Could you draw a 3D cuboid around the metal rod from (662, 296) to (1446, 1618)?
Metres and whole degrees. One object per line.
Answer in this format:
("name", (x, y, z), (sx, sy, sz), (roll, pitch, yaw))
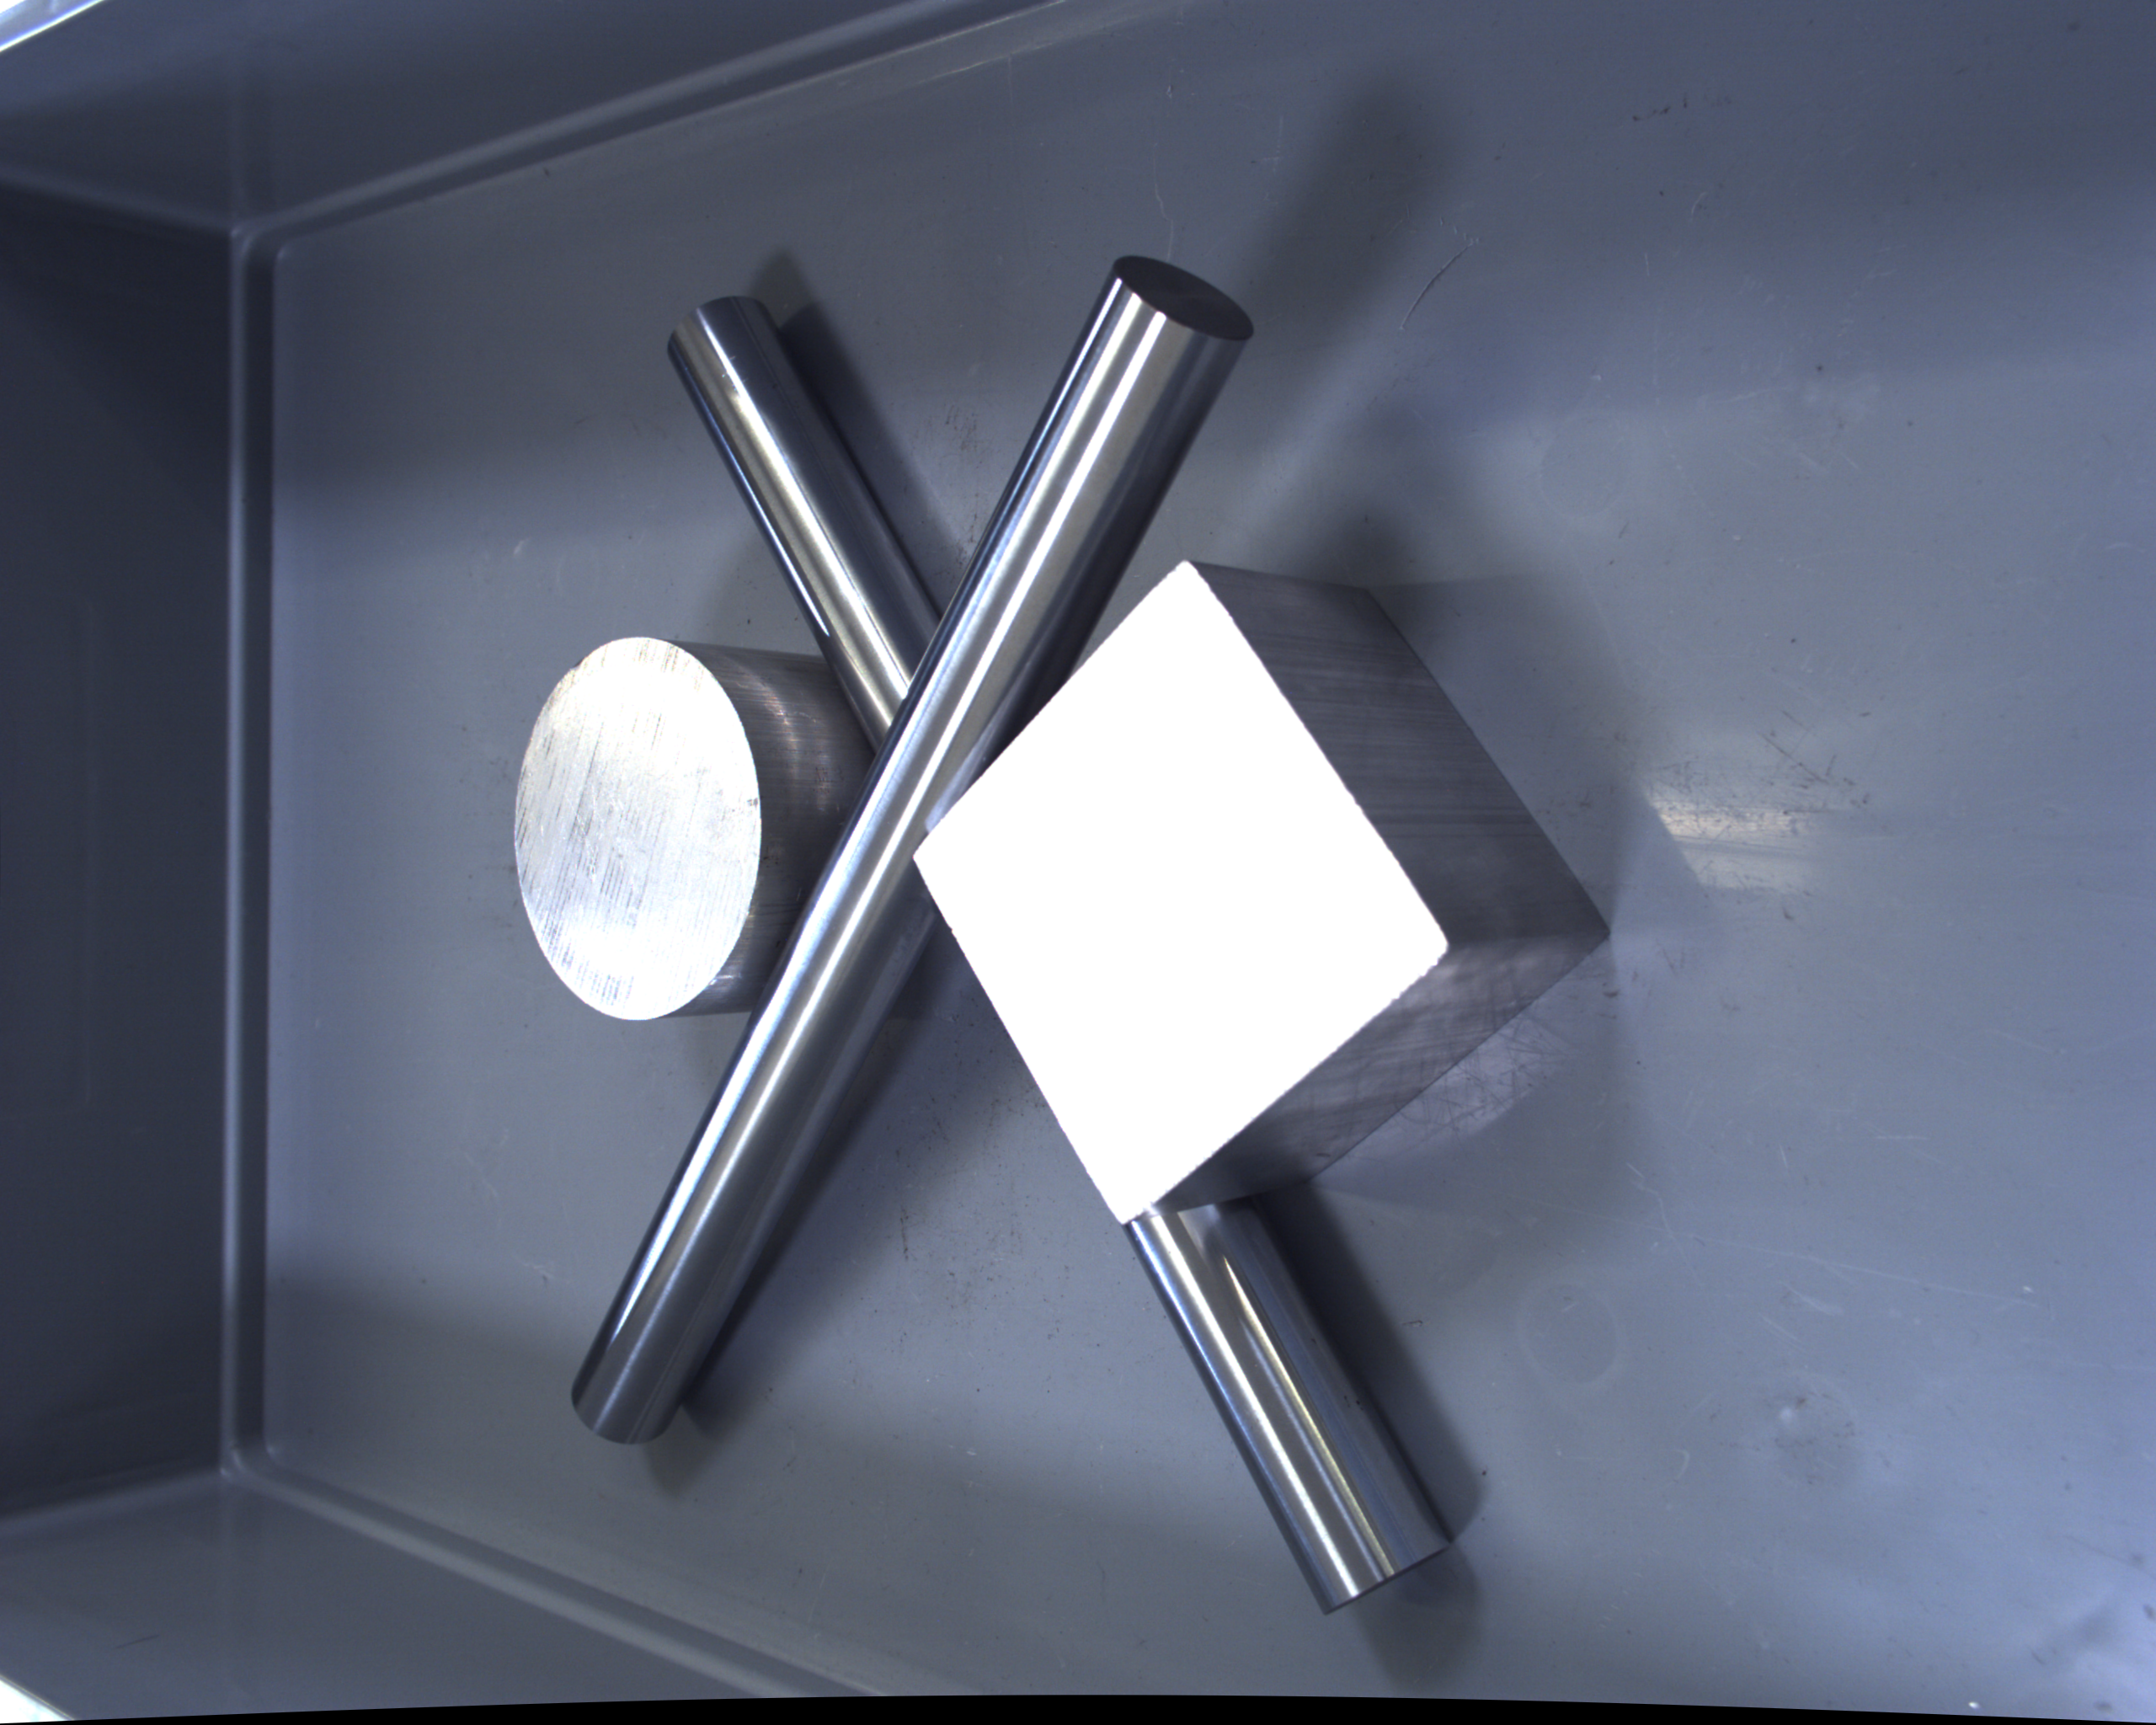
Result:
("metal rod", (-0.015, 0.003, 0.416), (0.025, 0.025, 0.299), (-43, 64, 31))

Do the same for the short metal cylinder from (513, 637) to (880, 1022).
("short metal cylinder", (-0.077, -0.007, 0.452), (0.080, 0.050, 0.079), (0, 90, 40))

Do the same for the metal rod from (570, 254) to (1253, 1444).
("metal rod", (-0.046, 0.018, 0.415), (0.025, 0.025, 0.298), (50, 128, 28))

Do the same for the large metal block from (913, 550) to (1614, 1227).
("large metal block", (0.029, 0.005, 0.363), (0.080, 0.050, 0.080), (-46, 63, 30))
